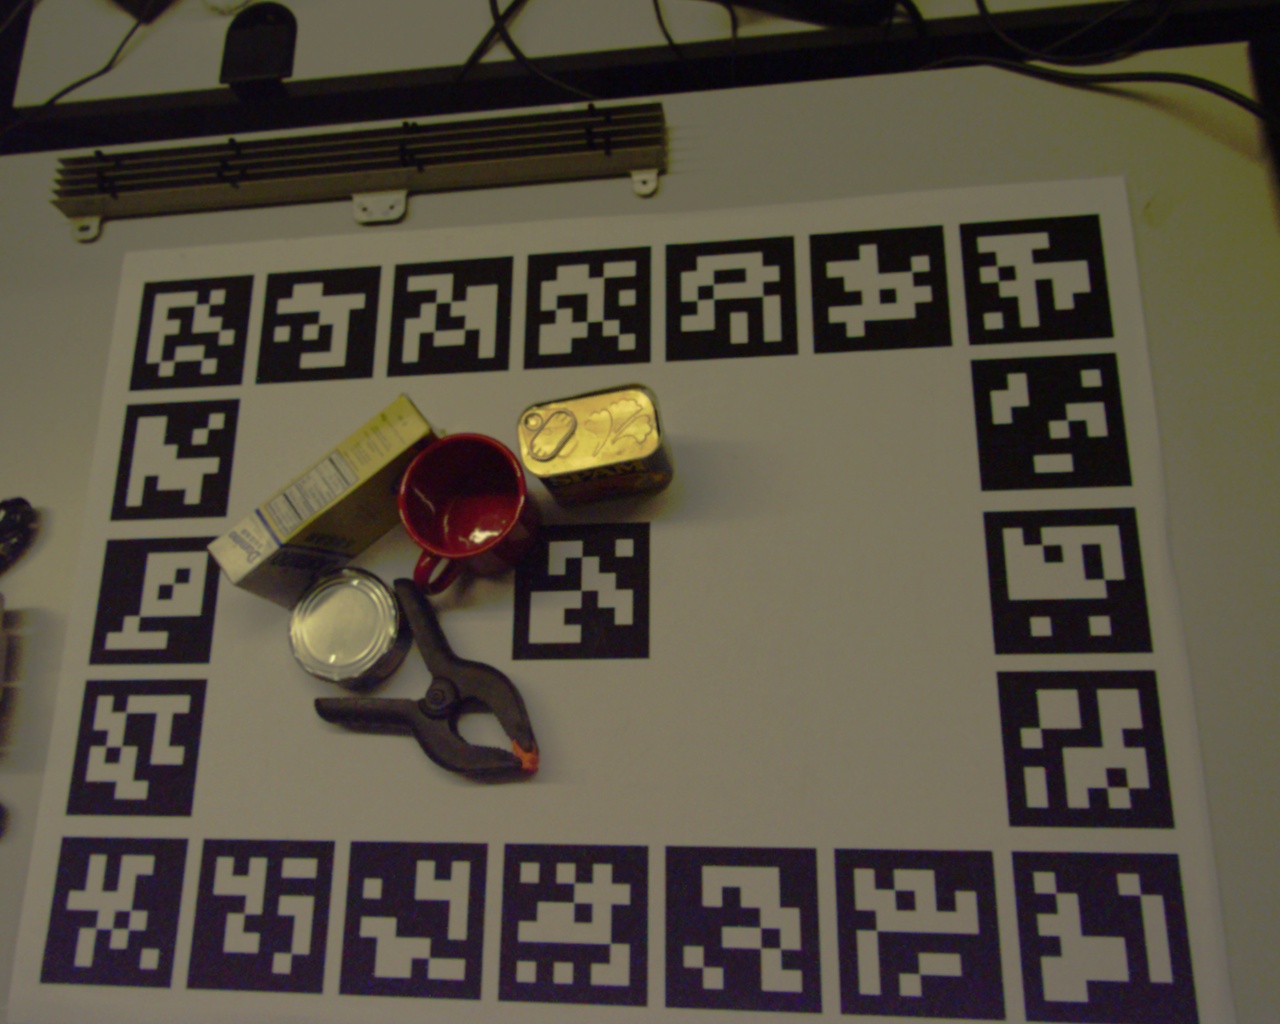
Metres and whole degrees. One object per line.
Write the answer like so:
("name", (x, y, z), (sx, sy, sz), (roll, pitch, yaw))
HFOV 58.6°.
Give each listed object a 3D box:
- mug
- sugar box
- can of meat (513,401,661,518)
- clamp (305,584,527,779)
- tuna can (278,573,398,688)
("mug", (-0.138, 0.013, 0.852), (0.094, 0.081, 0.117), (24, 81, 14))
("sugar box", (-0.229, 0.001, 0.874), (0.176, 0.092, 0.045), (-38, 71, -4))
("can of meat", (-0.037, -0.036, 0.857), (0.102, 0.083, 0.058), (-9, 72, 5))
("clamp", (-0.153, 0.144, 0.851), (0.166, 0.036, 0.121), (34, 78, 12))
("tuna can", (-0.230, 0.091, 0.873), (0.086, 0.033, 0.086), (-2, 76, 9))
